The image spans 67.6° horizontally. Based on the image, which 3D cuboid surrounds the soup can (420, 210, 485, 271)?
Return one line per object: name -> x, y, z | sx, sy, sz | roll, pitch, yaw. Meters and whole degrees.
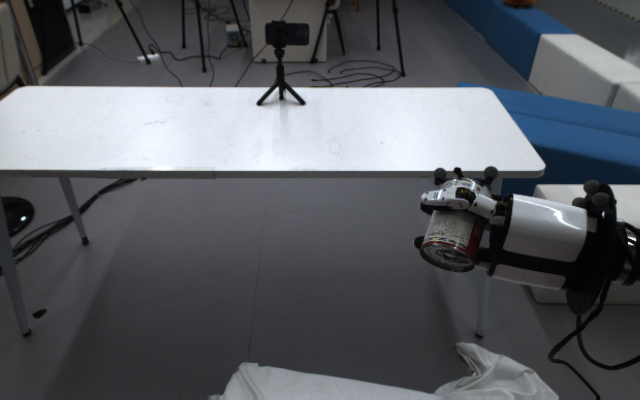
soup can -> 0.173, 0.028, 0.614 | 0.067, 0.067, 0.101 | 15, 63, 18
